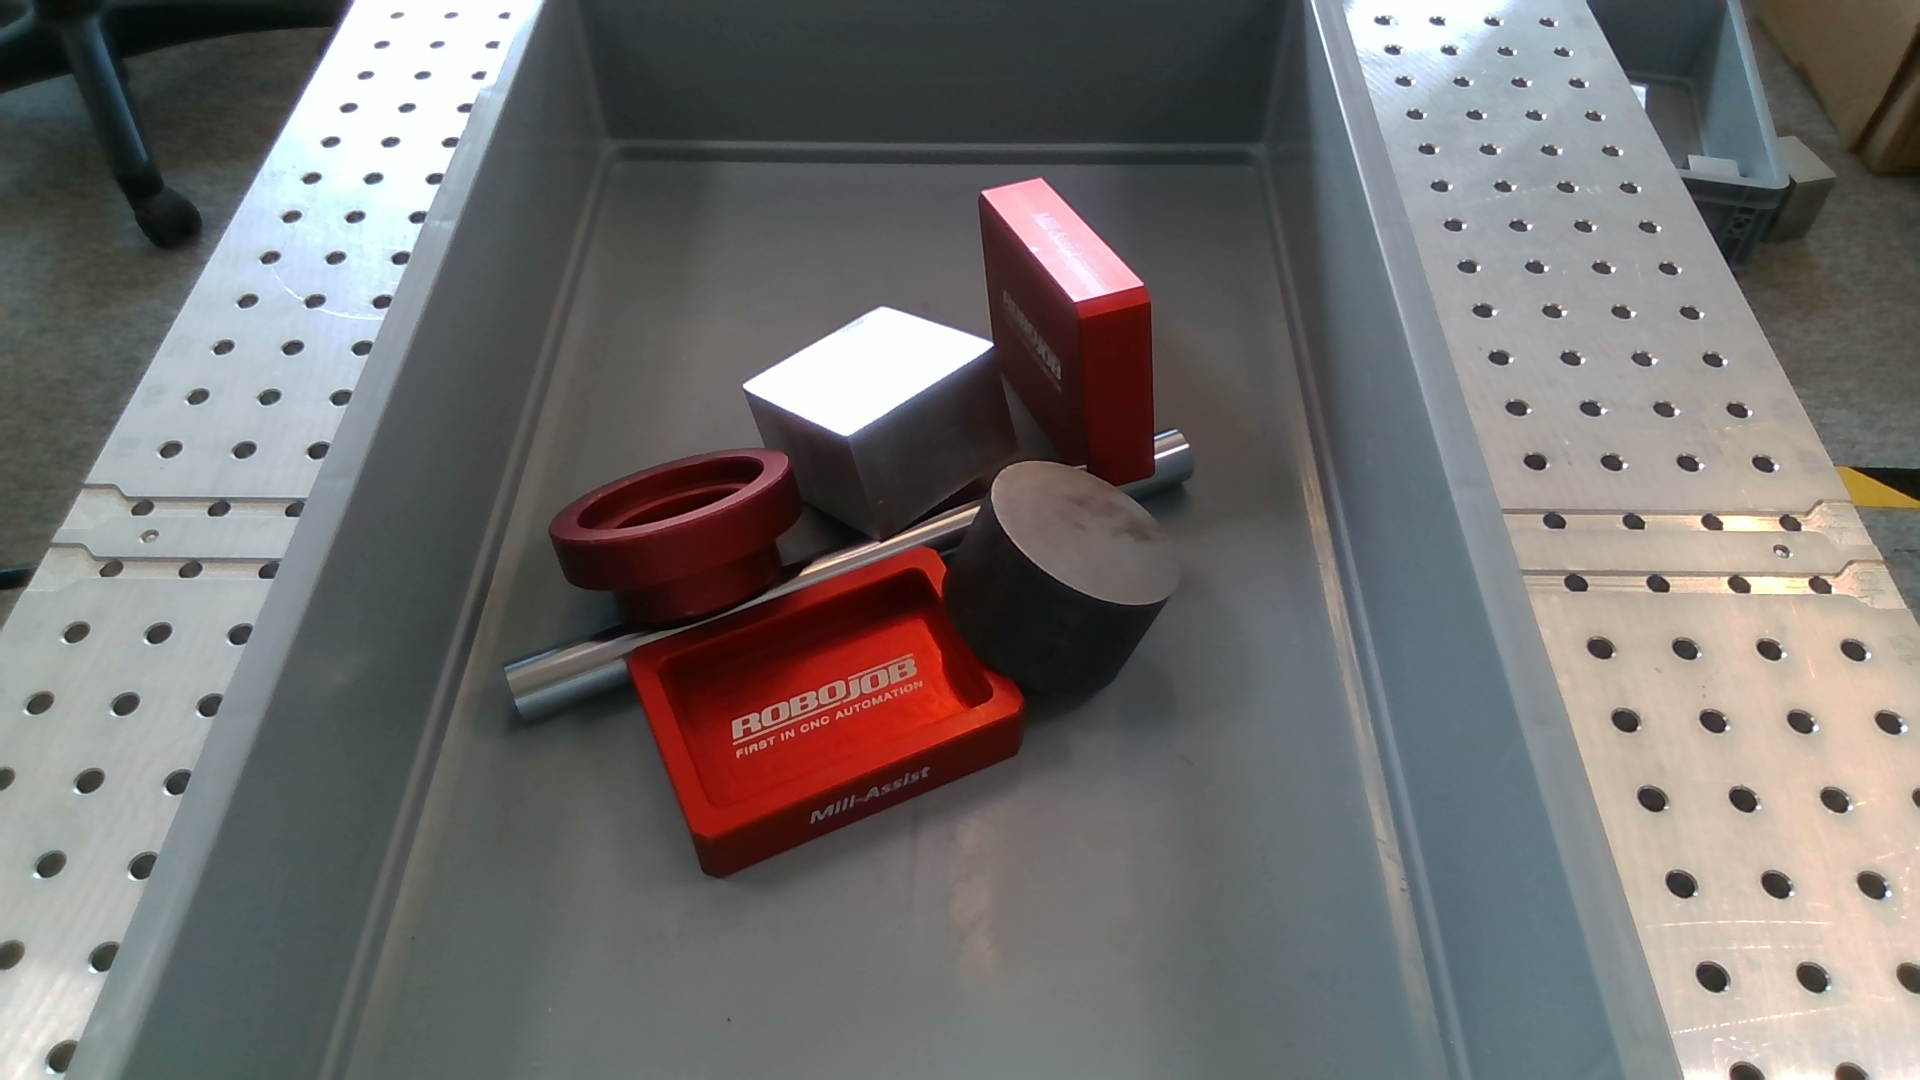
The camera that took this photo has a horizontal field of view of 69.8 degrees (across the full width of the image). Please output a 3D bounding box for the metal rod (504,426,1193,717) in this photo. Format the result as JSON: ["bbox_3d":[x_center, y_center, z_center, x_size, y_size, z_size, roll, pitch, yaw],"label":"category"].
[{"bbox_3d":[-0.038,0.009,0.578,0.300,0.025,0.025,-20,53,-16],"label":"metal rod"}]

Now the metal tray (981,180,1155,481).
[{"bbox_3d":[0.045,-0.092,0.602,0.030,0.090,0.130,-15,37,-10],"label":"metal tray"}]

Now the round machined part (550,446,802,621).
[{"bbox_3d":[-0.111,-0.001,0.557,0.098,0.042,0.098,-12,20,5],"label":"round machined part"}]

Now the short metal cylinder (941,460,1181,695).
[{"bbox_3d":[0.039,0.014,0.539,0.080,0.050,0.080,19,36,-14],"label":"short metal cylinder"}]

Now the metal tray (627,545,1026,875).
[{"bbox_3d":[-0.051,0.062,0.531,0.130,0.030,0.090,-20,53,-16],"label":"metal tray"}]

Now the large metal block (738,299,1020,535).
[{"bbox_3d":[-0.035,-0.056,0.592,0.080,0.050,0.080,-35,40,-25],"label":"large metal block"}]
